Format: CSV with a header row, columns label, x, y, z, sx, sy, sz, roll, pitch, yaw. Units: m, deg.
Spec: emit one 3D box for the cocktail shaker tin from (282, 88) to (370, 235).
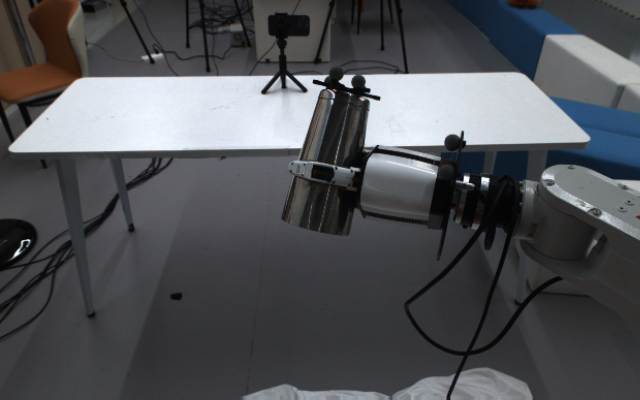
label,x,y,z,sx,sy,sz,roll,pitch,yaw
cocktail shaker tin,0.014,-0.049,0.620,0.093,0.170,0.093,13,4,-1
